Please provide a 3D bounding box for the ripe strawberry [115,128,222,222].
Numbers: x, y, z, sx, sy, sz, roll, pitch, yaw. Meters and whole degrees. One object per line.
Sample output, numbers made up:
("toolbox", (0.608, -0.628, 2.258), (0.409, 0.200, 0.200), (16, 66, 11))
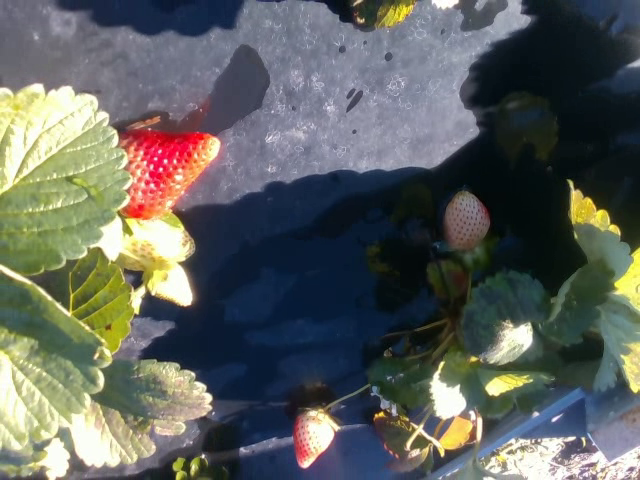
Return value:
("ripe strawberry", (-0.071, -0.036, 0.278), (0.064, 0.052, 0.049), (-26, -16, 12))
